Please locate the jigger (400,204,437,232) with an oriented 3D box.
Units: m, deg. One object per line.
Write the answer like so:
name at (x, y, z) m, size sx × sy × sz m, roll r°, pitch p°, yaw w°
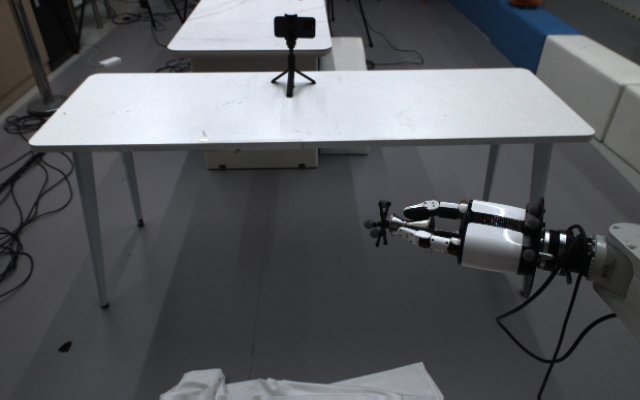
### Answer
jigger at (0.162, 0.038, 0.818) m, size 0.071 × 0.043 × 0.043 m, roll 4°, pitch 32°, yaw 27°
